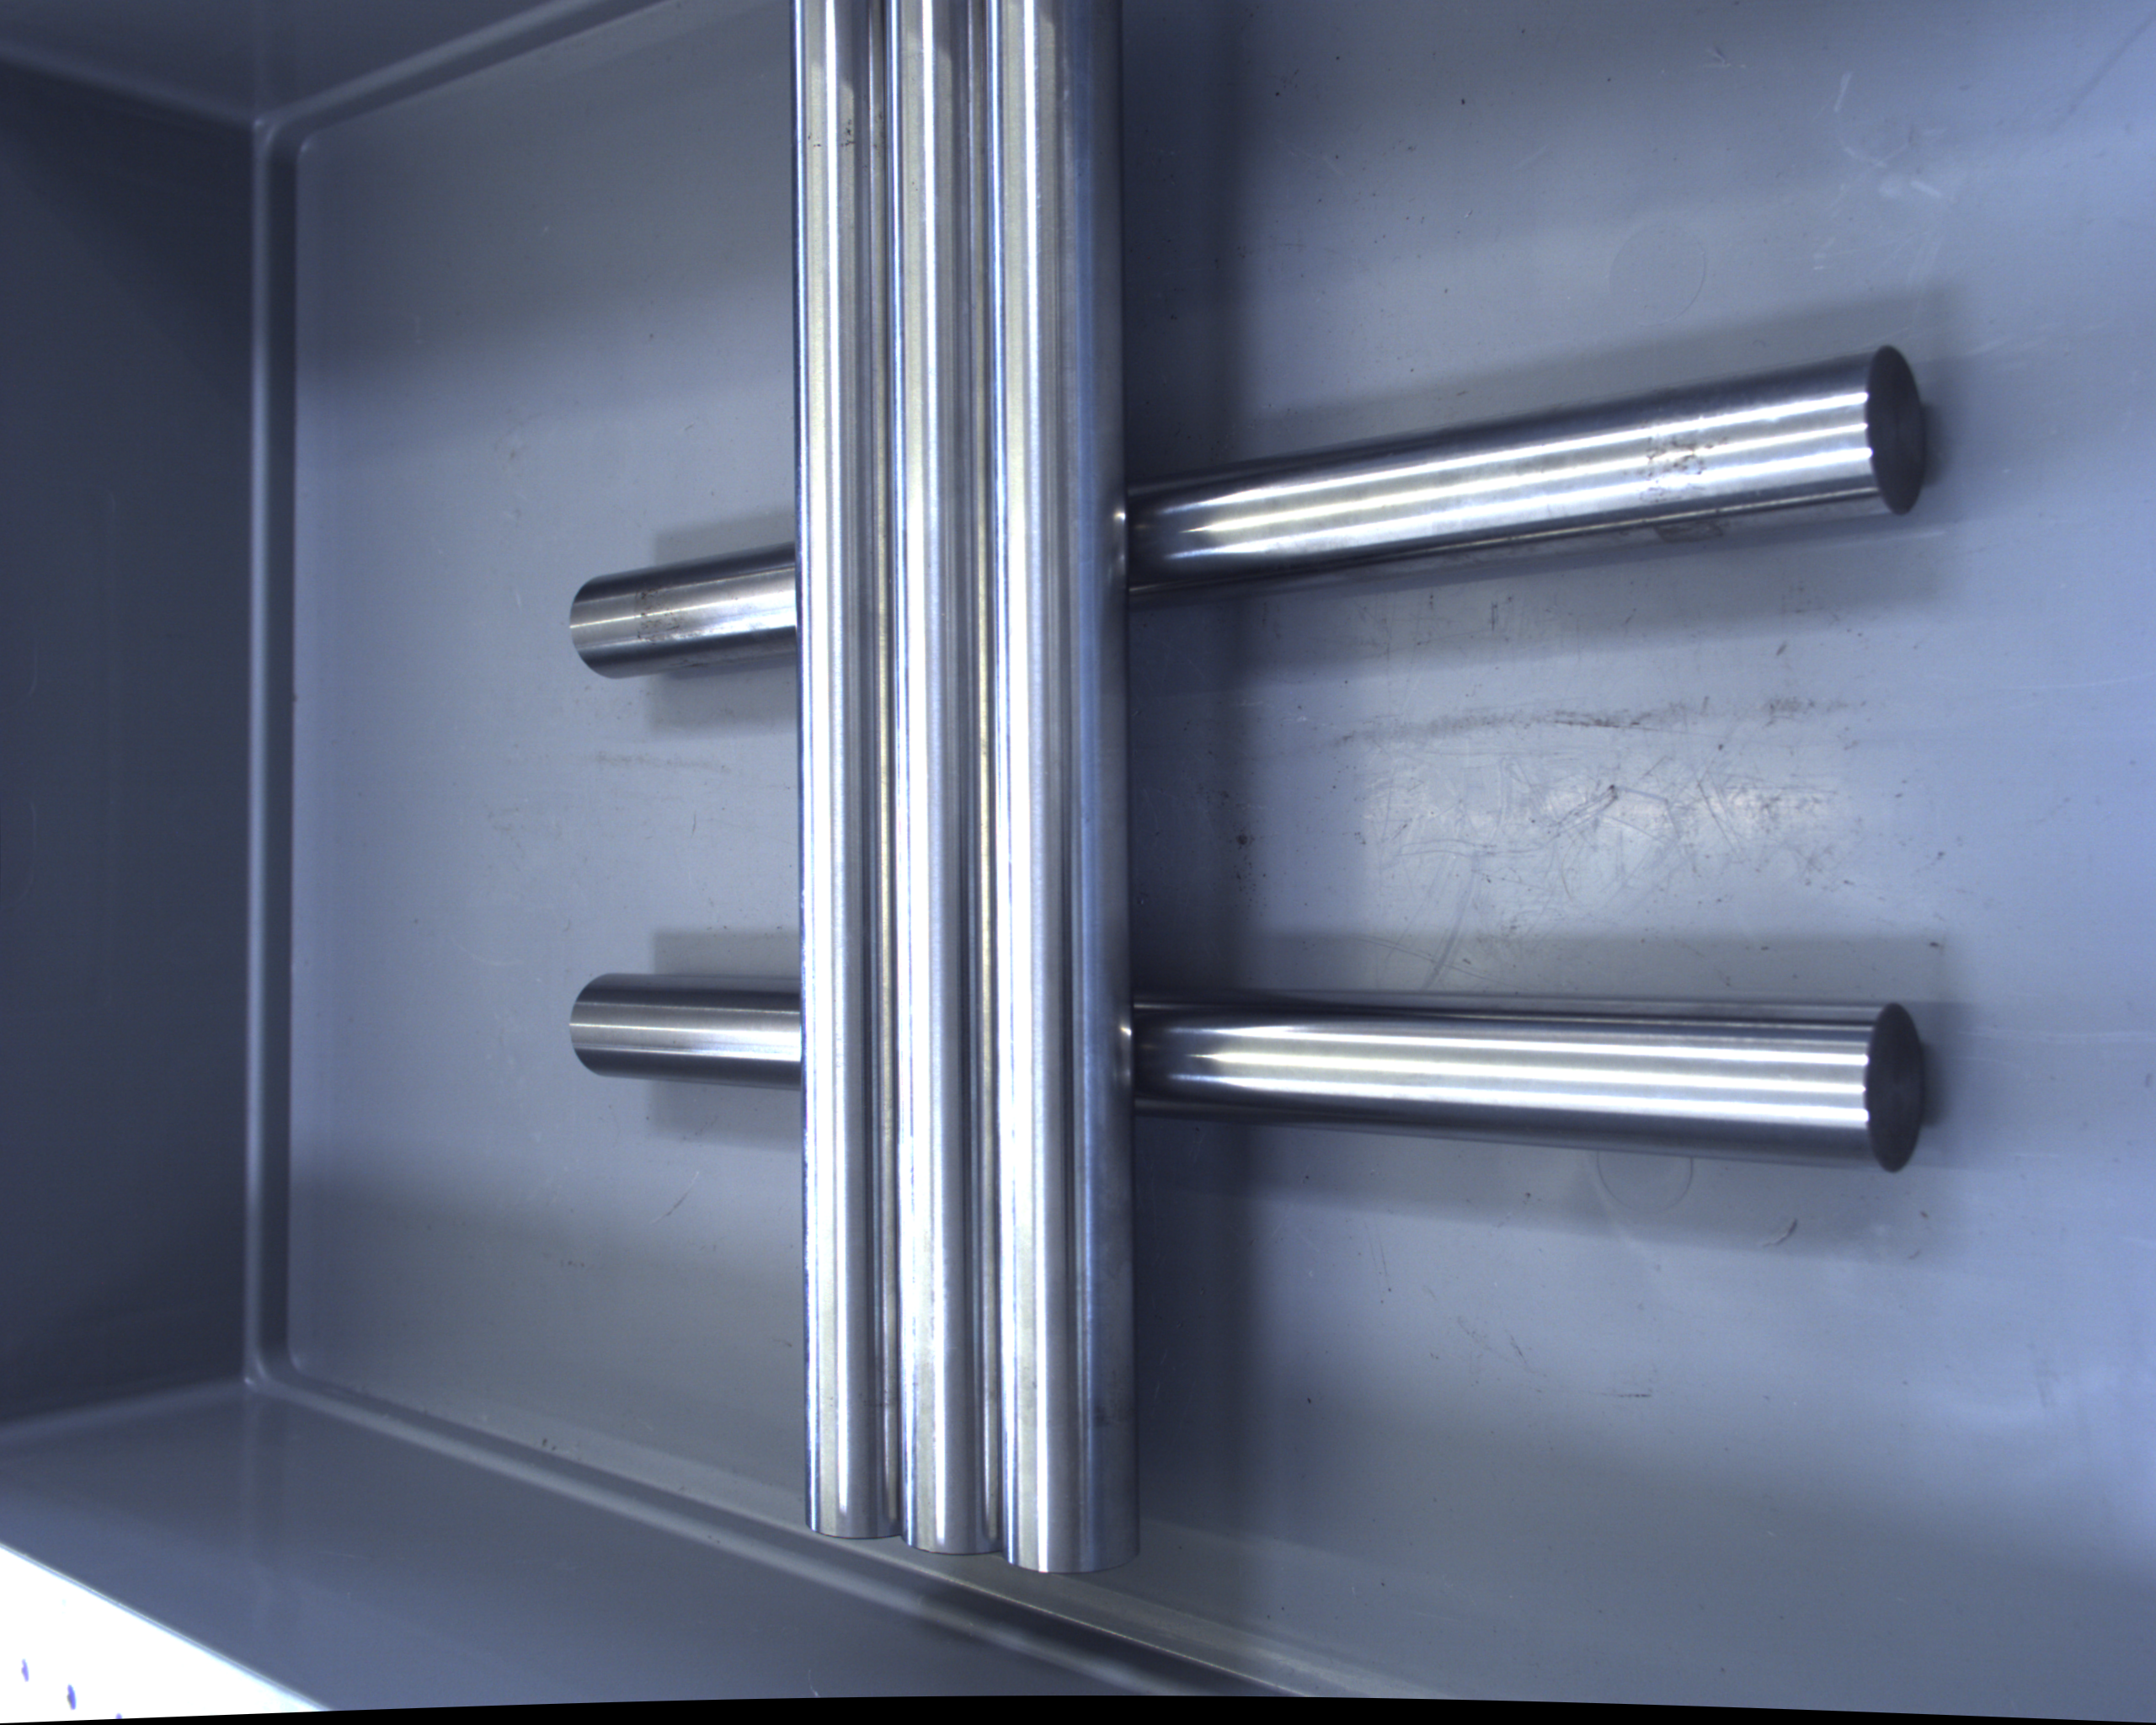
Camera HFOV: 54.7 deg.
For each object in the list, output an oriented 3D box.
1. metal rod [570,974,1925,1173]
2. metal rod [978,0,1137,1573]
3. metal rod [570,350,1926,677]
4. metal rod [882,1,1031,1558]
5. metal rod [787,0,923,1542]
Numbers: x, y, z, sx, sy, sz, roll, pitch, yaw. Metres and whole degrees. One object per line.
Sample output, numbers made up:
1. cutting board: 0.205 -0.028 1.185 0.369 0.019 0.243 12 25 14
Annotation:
1. metal rod: 0.005 0.036 0.402 0.300 0.025 0.025 -1 89 40
2. metal rod: -0.004 -0.026 0.375 0.025 0.025 0.298 -1 89 40
3. metal rod: 0.005 -0.059 0.402 0.300 0.025 0.025 -2 89 40
4. metal rod: -0.023 -0.024 0.390 0.025 0.025 0.298 -1 89 40
5. metal rod: -0.042 -0.021 0.407 0.025 0.025 0.298 -1 89 40
